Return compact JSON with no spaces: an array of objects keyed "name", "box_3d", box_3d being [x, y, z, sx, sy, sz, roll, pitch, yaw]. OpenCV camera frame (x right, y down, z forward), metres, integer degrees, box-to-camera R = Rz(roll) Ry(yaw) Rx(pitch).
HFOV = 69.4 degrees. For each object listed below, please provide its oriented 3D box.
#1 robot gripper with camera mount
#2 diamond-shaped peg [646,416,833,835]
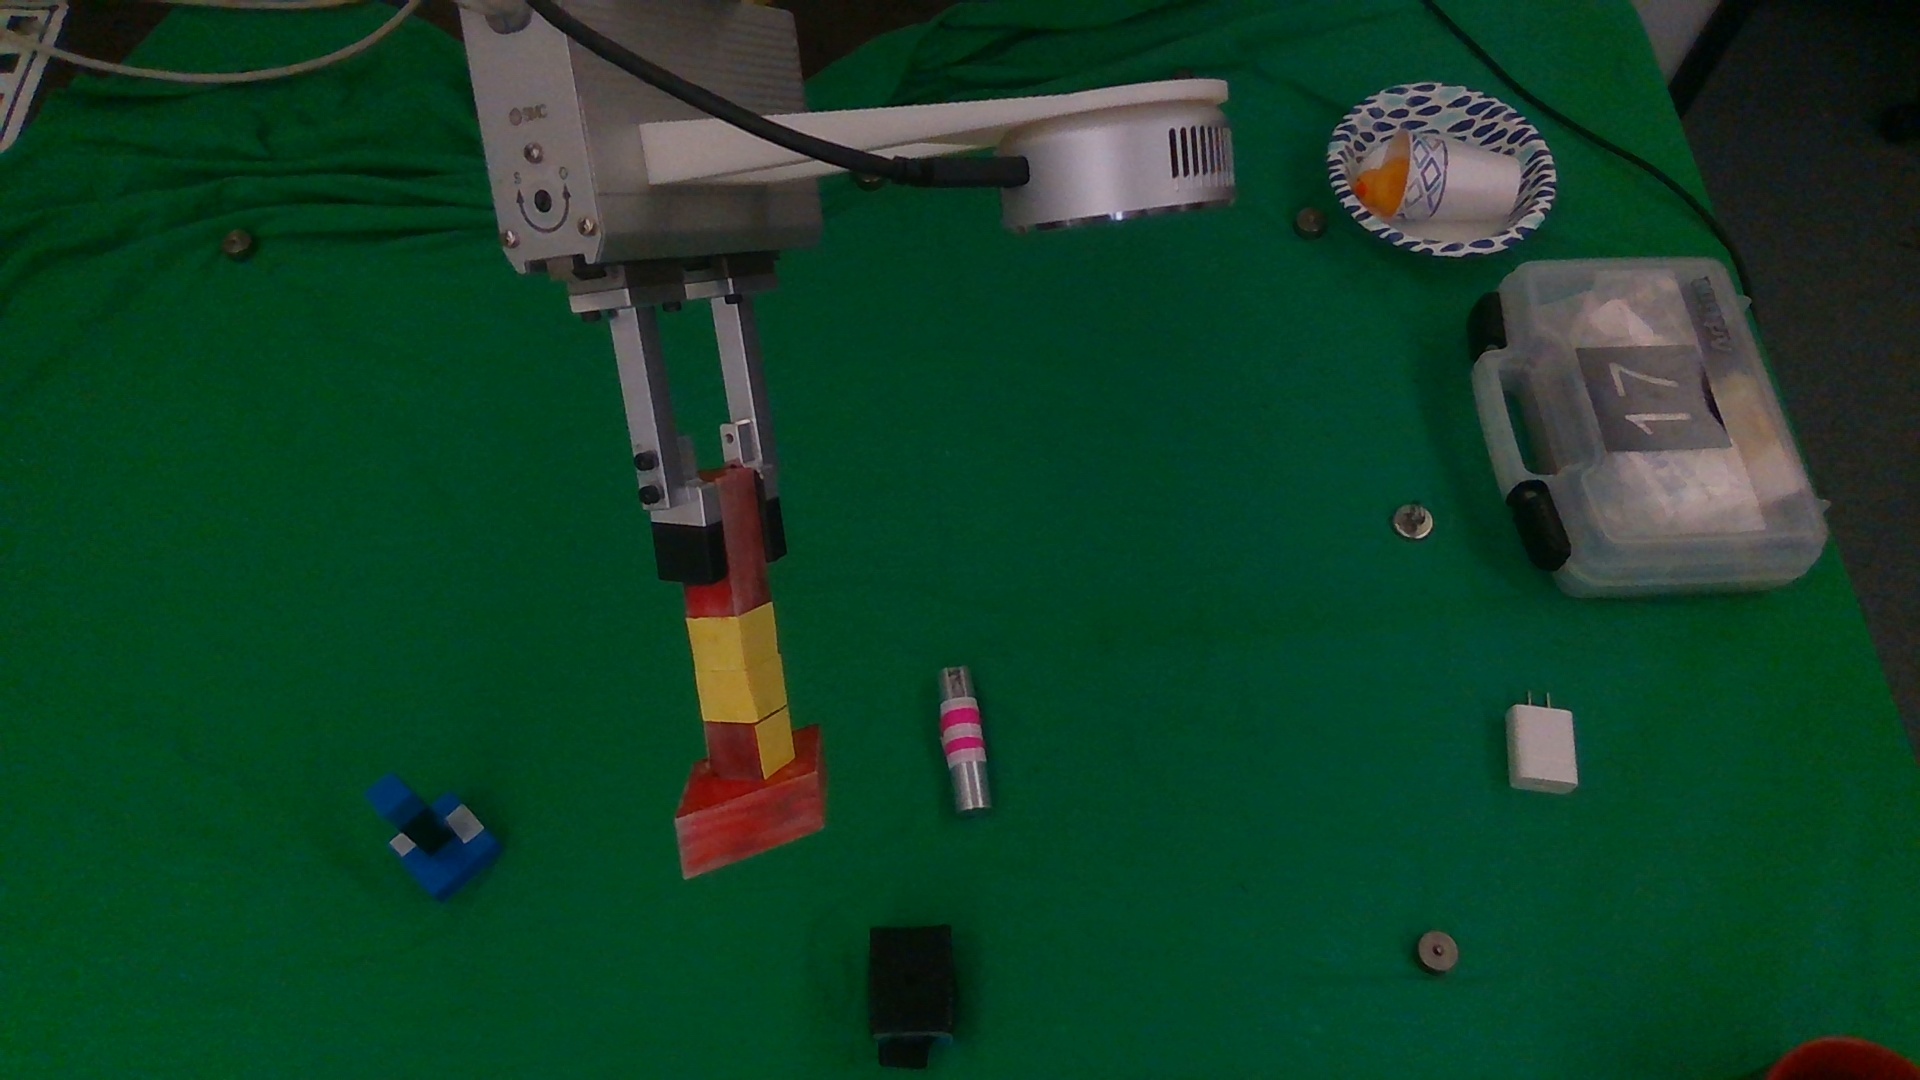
[{"name":"robot gripper with camera mount","box_3d":[-0.015,-0.083,0.392,0.194,0.118,0.158,0,103,22]},{"name":"diamond-shaped peg","box_3d":[-0.075,0.022,0.442,0.045,0.074,0.122,-9,100,1]}]
